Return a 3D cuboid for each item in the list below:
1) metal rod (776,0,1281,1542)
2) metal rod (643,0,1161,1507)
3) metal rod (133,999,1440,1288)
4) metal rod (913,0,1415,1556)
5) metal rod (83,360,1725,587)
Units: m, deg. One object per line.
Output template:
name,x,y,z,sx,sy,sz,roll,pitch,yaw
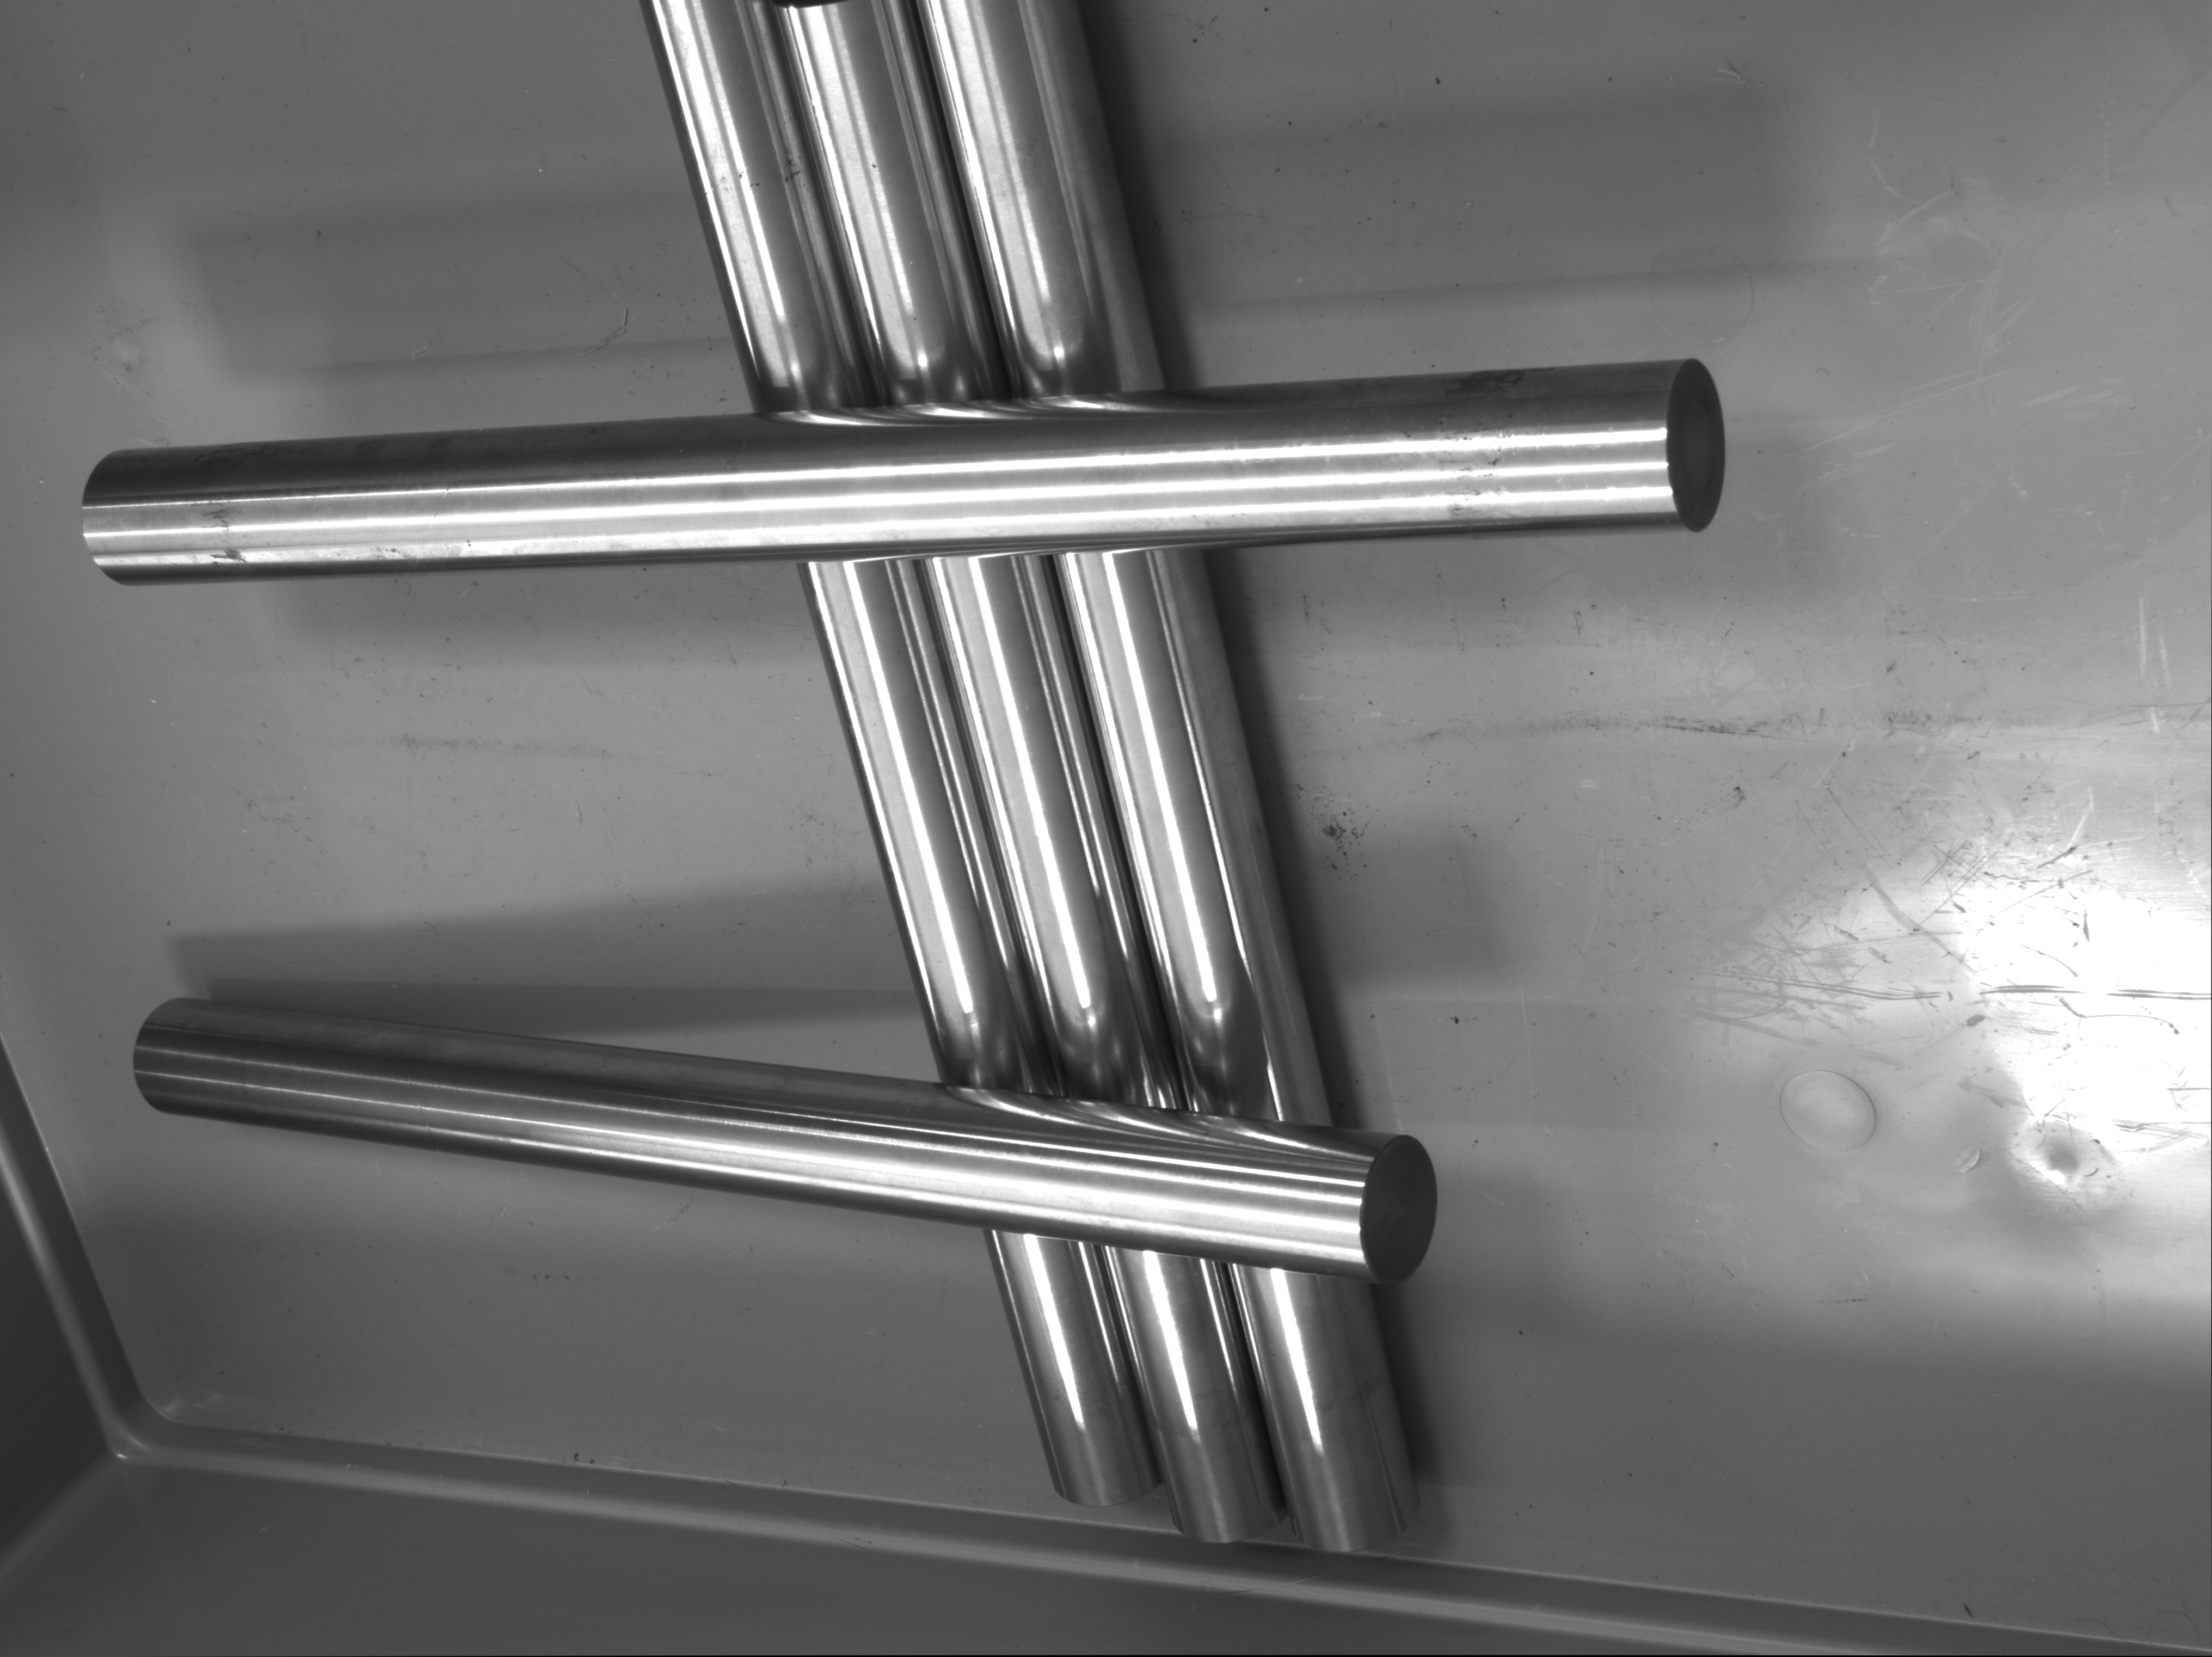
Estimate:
metal rod,-0.008,-0.002,0.645,0.025,0.025,0.300,1,119,28
metal rod,-0.031,-0.007,0.654,0.025,0.025,0.300,0,119,28
metal rod,-0.074,0.056,0.692,0.299,0.025,0.025,4,120,35
metal rod,0.014,-0.002,0.632,0.025,0.025,0.300,1,119,28
metal rod,-0.046,-0.056,0.600,0.299,0.025,0.025,0,118,28
